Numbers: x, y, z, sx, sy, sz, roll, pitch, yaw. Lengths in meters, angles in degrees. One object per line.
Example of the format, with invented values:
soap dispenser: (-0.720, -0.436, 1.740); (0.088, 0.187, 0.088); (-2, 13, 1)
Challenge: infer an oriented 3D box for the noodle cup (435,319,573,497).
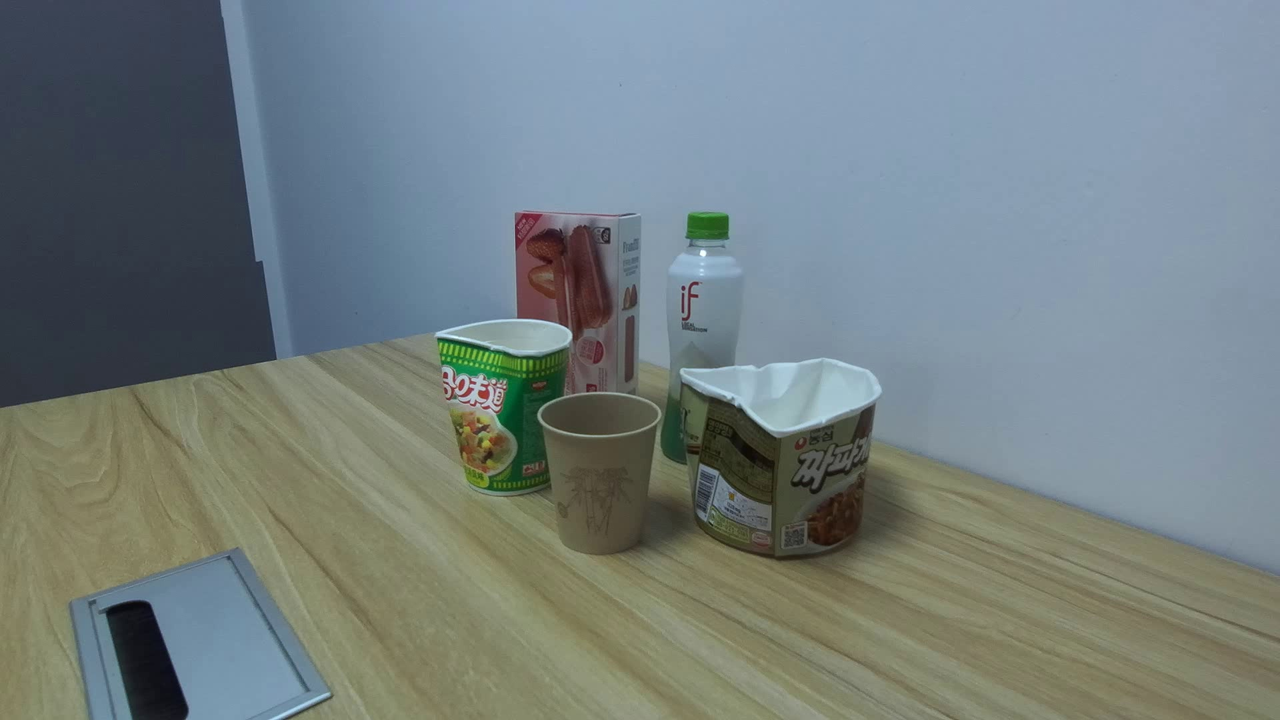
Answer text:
noodle cup: (-0.090, 0.034, 0.512); (0.087, 0.109, 0.093); (-11, 21, -30)

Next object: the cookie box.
cookie box: (-0.052, -0.031, 0.600); (0.096, 0.184, 0.048); (7, 16, 22)

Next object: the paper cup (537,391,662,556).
paper cup: (-0.025, 0.071, 0.438); (0.075, 0.082, 0.075); (1, 17, 0)

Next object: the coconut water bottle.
coconut water bottle: (0.049, -0.016, 0.541); (0.063, 0.188, 0.063); (0, 14, 0)
